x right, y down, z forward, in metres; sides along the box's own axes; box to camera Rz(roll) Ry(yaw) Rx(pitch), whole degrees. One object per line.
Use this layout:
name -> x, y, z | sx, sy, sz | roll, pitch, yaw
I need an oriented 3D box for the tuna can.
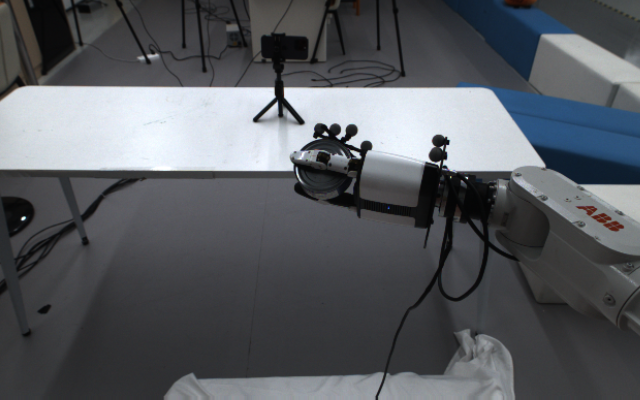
tuna can -> 0.007, -0.047, 0.713 | 0.085, 0.034, 0.085 | -4, 67, 10
